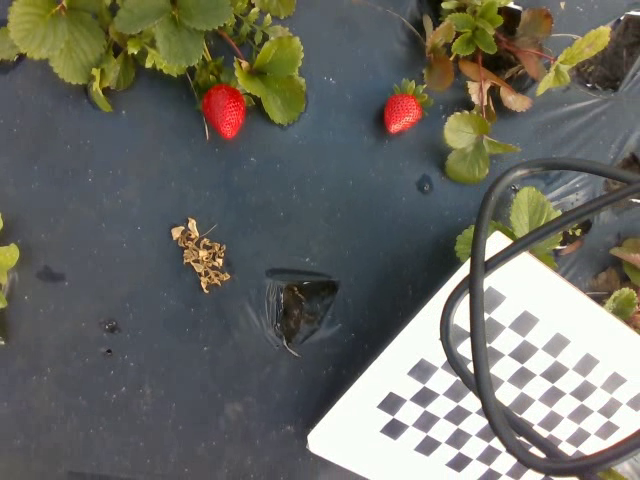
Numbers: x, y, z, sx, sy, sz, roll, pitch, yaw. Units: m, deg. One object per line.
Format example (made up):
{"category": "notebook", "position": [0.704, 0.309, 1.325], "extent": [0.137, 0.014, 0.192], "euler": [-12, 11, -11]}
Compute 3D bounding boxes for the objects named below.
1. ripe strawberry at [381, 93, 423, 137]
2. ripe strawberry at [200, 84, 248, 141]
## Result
{"category": "ripe strawberry", "position": [0.071, -0.109, 0.585], "extent": [0.041, 0.052, 0.045], "euler": [5, -38, 37]}
{"category": "ripe strawberry", "position": [-0.080, -0.102, 0.544], "extent": [0.050, 0.050, 0.046], "euler": [31, -52, -33]}
